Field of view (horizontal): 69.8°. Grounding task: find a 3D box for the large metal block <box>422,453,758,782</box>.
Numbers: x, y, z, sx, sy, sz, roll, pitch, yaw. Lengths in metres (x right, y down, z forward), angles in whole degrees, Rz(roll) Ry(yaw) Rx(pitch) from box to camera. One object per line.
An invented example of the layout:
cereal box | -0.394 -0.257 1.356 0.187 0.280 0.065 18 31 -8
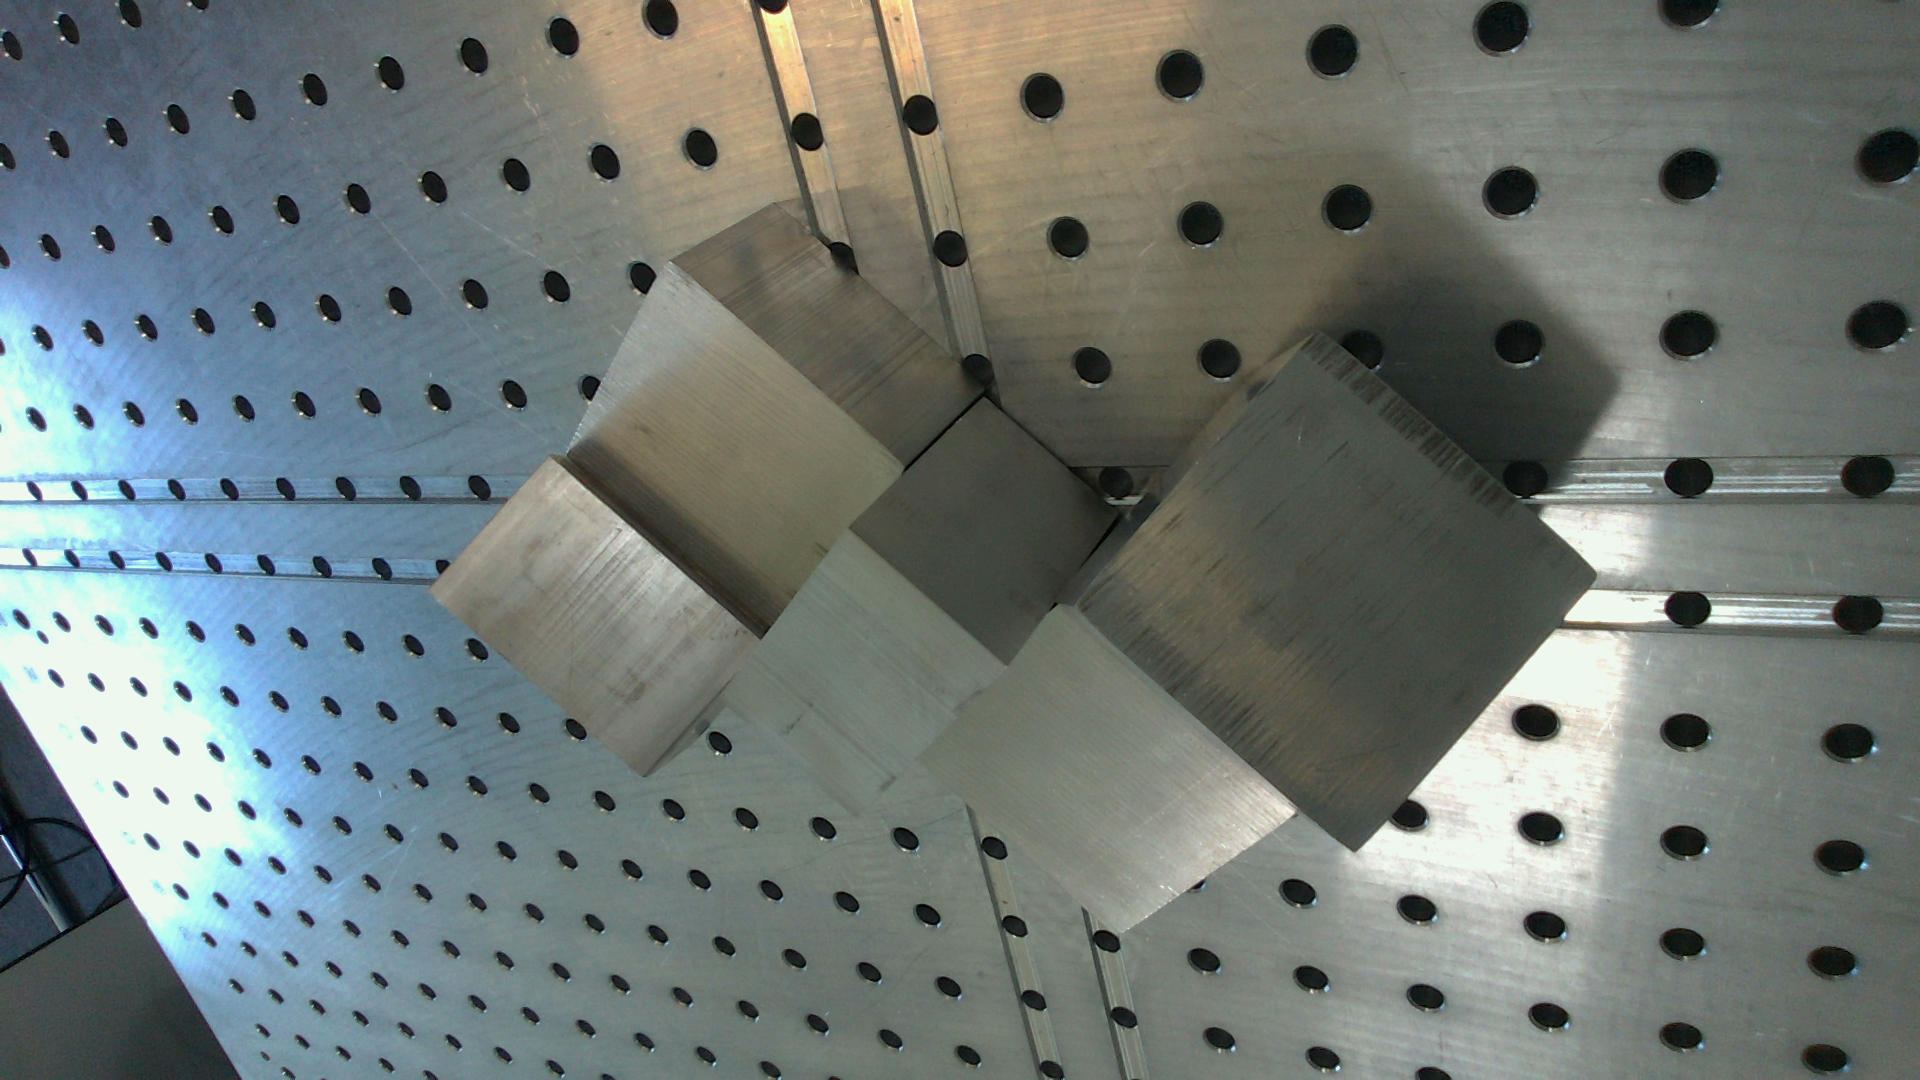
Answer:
large metal block | -0.101 0.021 0.418 0.080 0.080 0.050 41 91 0

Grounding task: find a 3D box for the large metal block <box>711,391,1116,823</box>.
large metal block | -0.012 0.017 0.377 0.050 0.080 0.080 40 129 0

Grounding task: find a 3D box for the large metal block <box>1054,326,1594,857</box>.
large metal block | 0.079 0.011 0.317 0.080 0.050 0.080 41 89 -1

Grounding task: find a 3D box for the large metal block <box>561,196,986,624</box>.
large metal block | -0.054 -0.034 0.387 0.080 0.050 0.080 41 131 0

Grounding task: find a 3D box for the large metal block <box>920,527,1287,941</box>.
large metal block | 0.045 0.053 0.388 0.080 0.050 0.080 42 129 1
